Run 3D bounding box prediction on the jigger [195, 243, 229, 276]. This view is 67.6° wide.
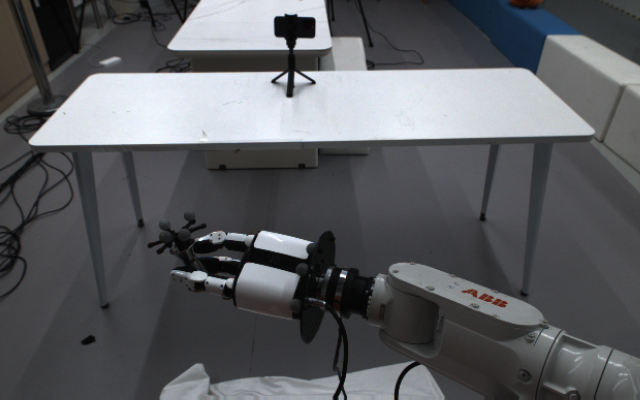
[{"bbox_3d":[-0.187,0.094,0.722,0.043,0.071,0.043,-18,24,8],"label":"jigger"}]
